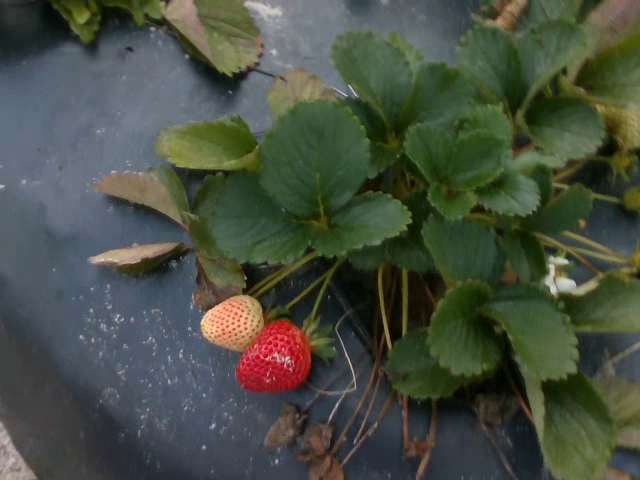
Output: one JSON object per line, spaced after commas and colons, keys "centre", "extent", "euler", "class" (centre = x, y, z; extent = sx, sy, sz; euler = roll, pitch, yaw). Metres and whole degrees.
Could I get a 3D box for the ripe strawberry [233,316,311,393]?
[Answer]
{"centre": [-0.023, 0.056, 0.293], "extent": [0.041, 0.034, 0.033], "euler": [-18, -3, -33], "class": "ripe strawberry"}
